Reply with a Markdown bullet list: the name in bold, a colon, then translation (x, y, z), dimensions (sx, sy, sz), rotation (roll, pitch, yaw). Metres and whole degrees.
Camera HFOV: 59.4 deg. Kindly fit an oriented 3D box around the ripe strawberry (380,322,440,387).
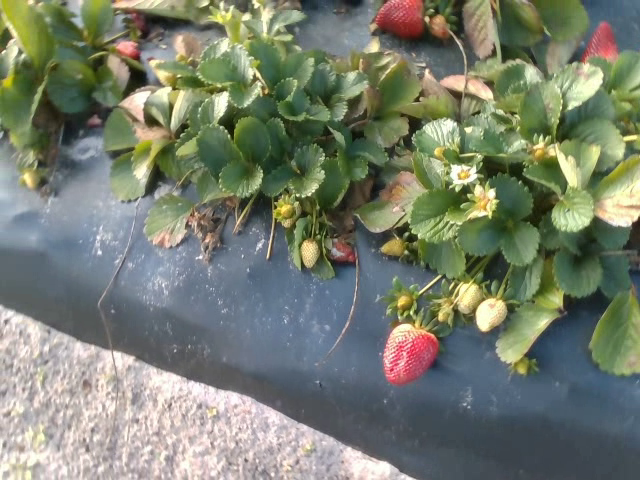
- **ripe strawberry**: translation (0.089, 0.120, 0.575), dimensions (0.052, 0.068, 0.045), rotation (19, -29, 14)
